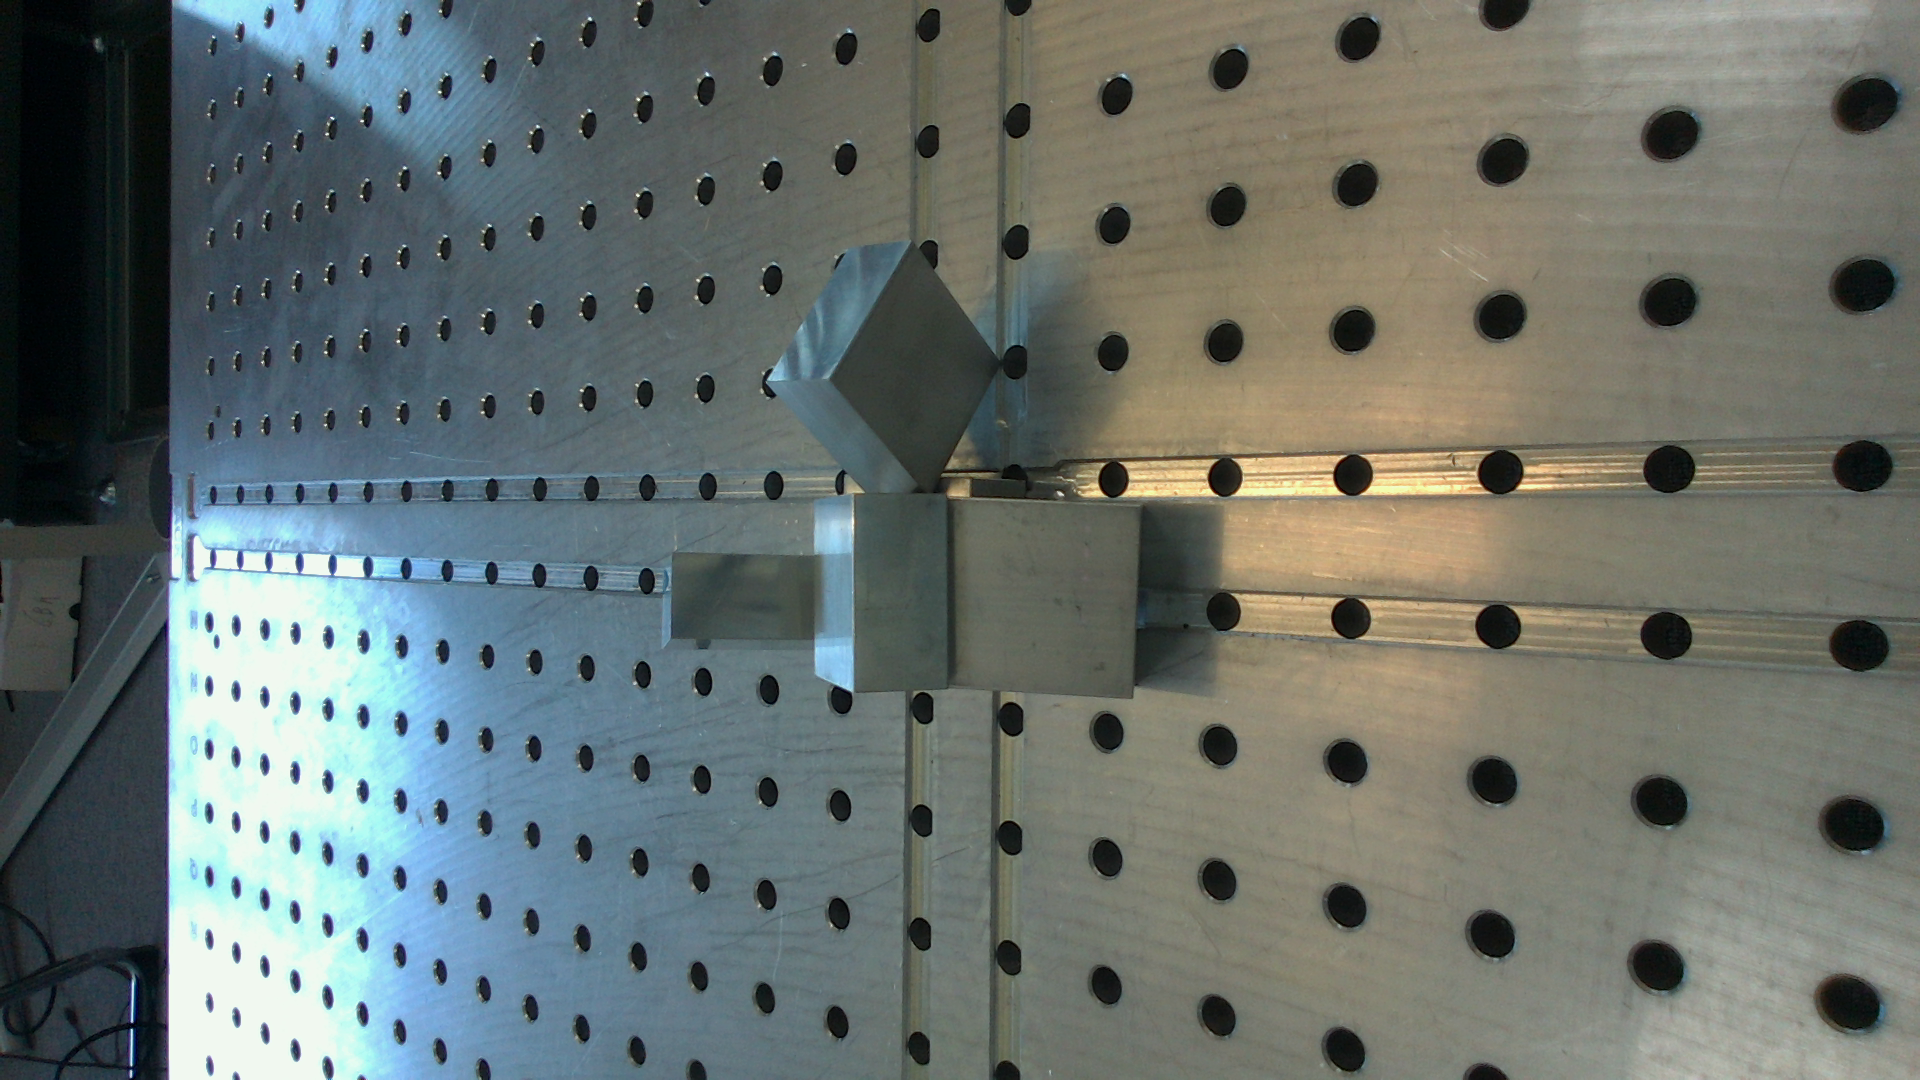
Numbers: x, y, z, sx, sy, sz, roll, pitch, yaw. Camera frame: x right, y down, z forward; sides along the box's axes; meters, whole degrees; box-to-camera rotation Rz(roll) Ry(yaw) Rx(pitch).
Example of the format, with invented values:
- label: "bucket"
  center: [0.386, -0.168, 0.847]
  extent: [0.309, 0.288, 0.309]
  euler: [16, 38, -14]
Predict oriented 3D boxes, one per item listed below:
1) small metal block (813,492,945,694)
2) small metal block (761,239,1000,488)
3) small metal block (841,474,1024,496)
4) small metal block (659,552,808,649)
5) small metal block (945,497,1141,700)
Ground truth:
- label: "small metal block"
  center: [-0.023, 0.013, 0.369]
  extent: [0.050, 0.025, 0.050]
  euler: [178, 91, -73]
- label: "small metal block"
  center: [-0.021, -0.047, 0.386]
  extent: [0.025, 0.050, 0.050]
  euler: [4, 57, 41]
- label: "small metal block"
  center: [-0.009, 0.006, 0.406]
  extent: [0.050, 0.025, 0.050]
  euler: [3, 92, 40]
- label: "small metal block"
  center: [-0.066, 0.020, 0.424]
  extent: [0.050, 0.050, 0.025]
  euler: [153, 117, -73]
- label: "small metal block"
  center: [0.022, 0.014, 0.365]
  extent: [0.050, 0.025, 0.050]
  euler: [2, 91, 9]
